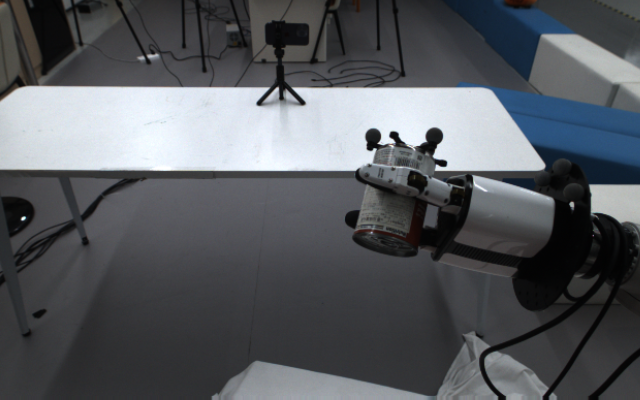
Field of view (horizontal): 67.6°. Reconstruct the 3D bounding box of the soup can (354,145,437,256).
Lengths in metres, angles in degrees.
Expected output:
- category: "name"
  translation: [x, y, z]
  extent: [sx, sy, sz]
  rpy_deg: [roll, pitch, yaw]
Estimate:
- category: "soup can"
  translation: [0.081, 0.000, 0.506]
  extent: [0.067, 0.067, 0.101]
  rpy_deg: [11, 72, 13]
